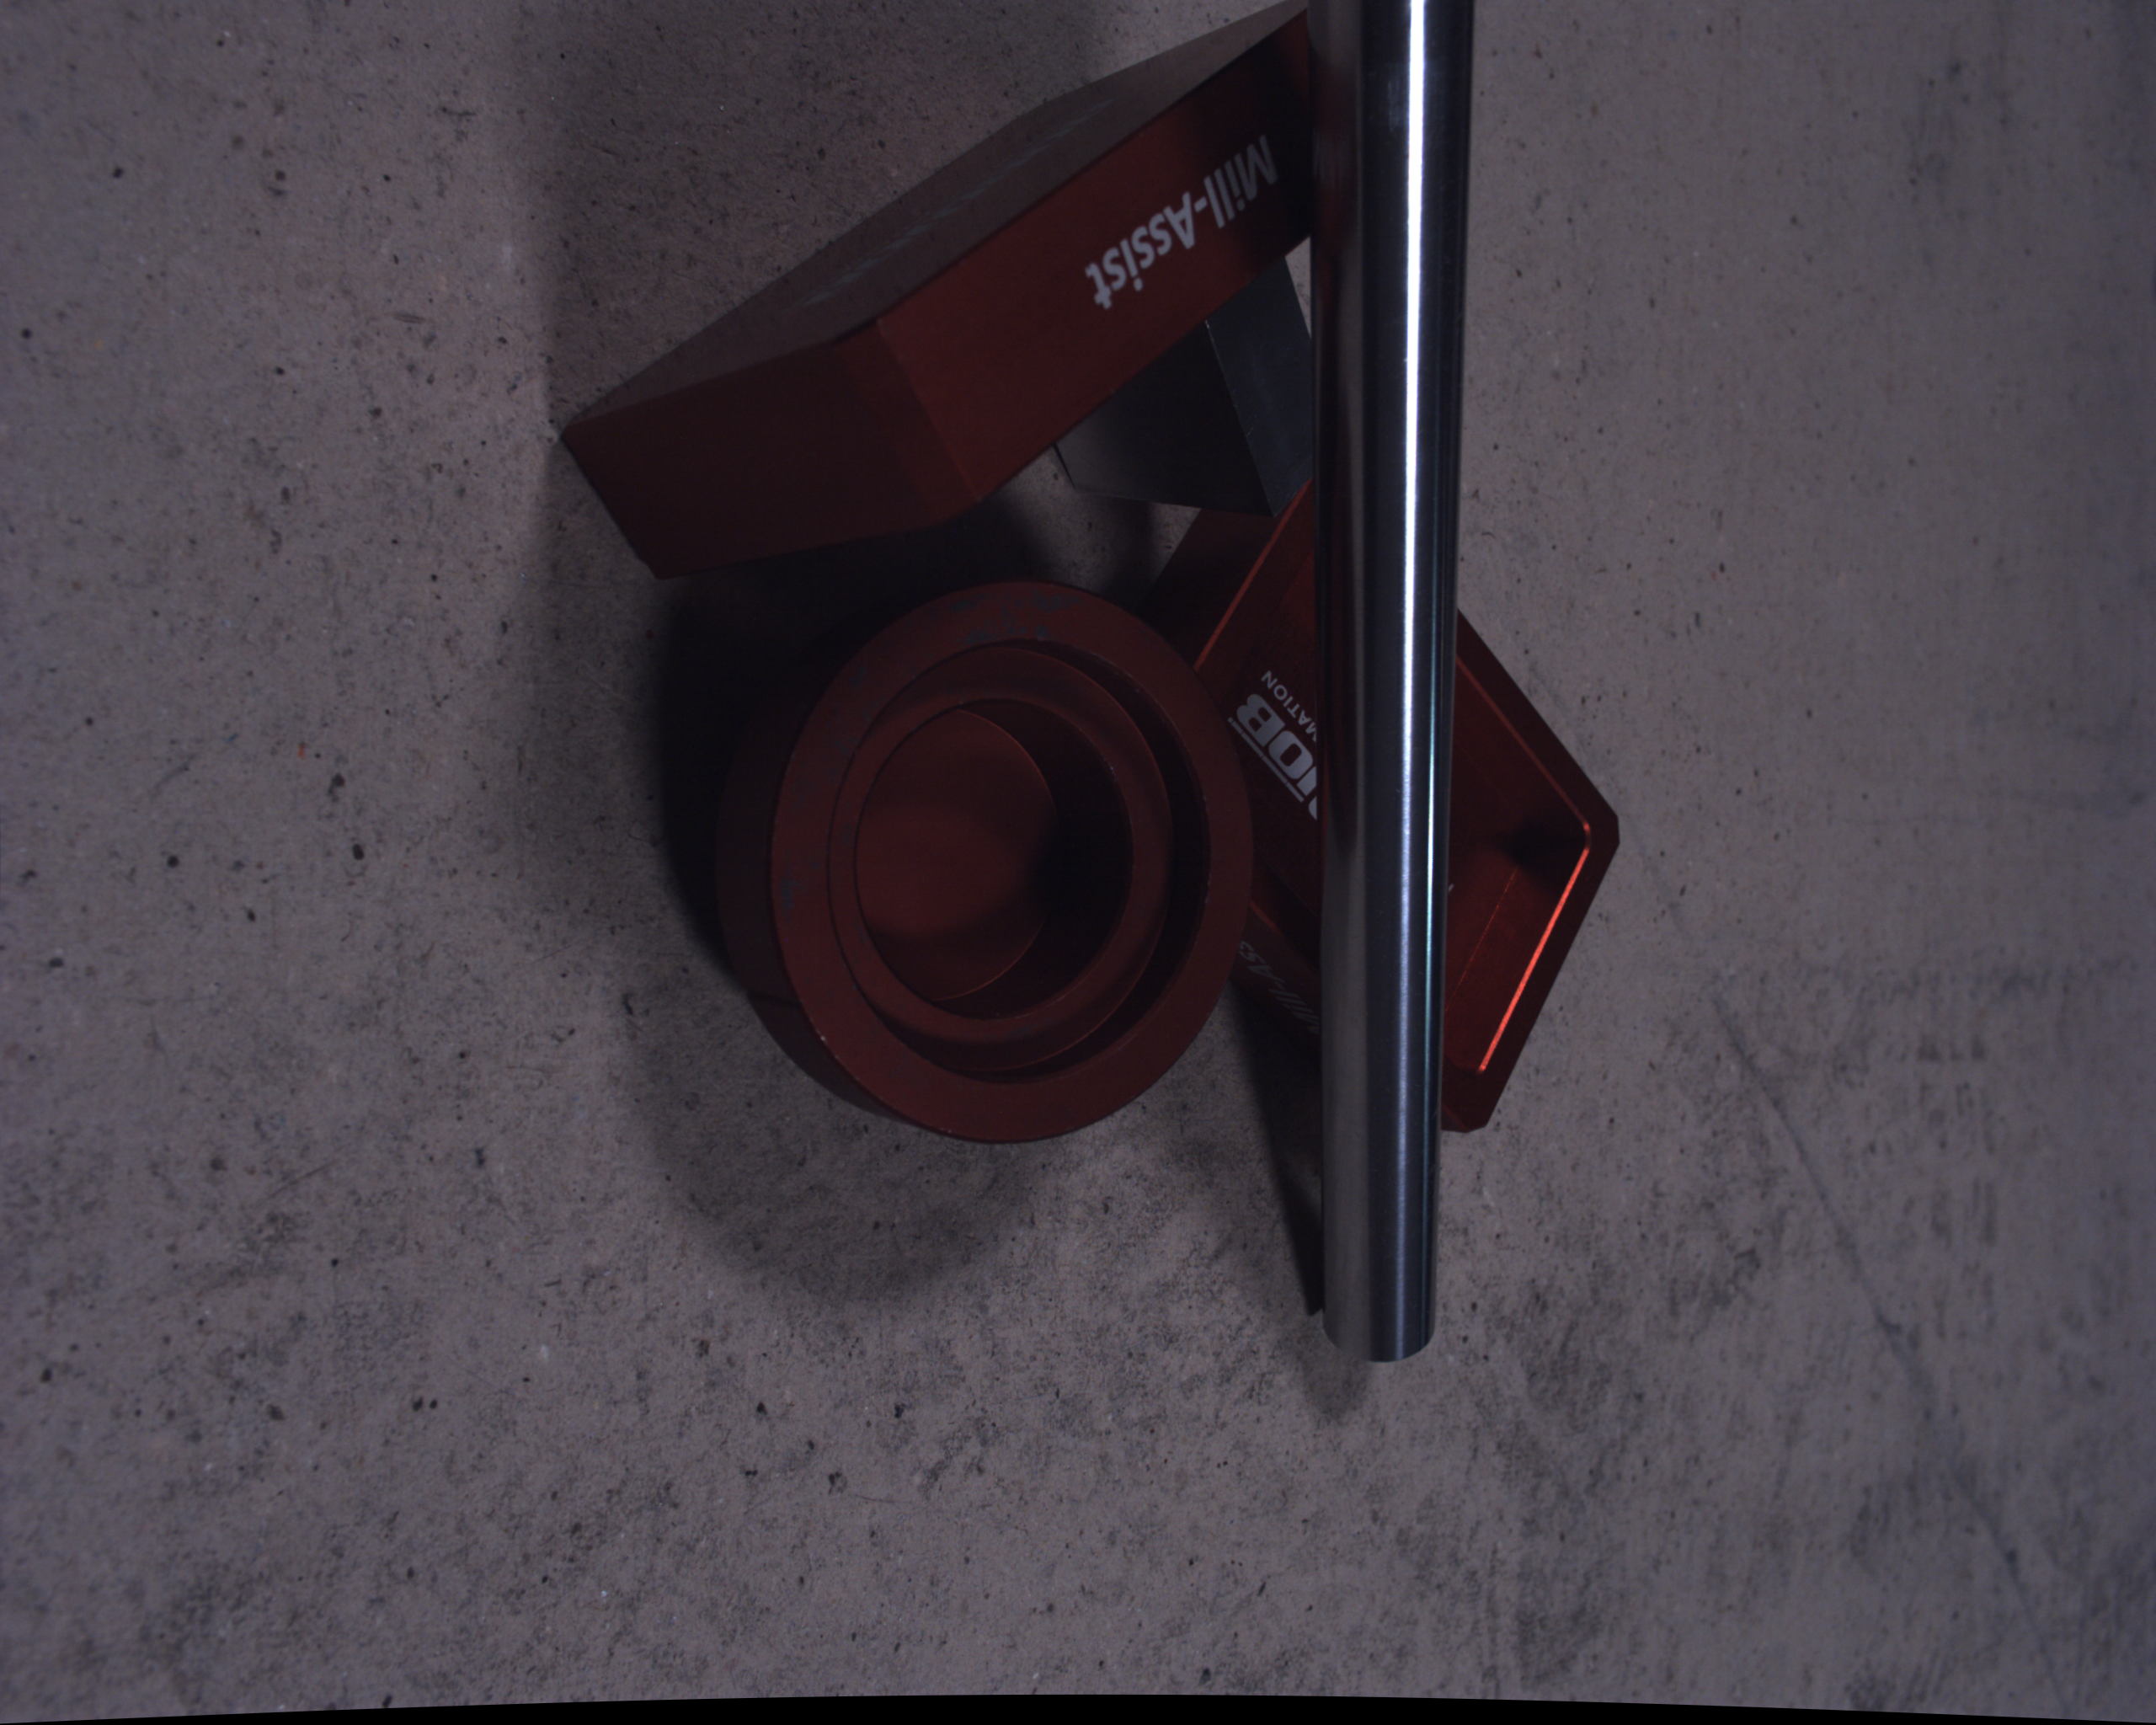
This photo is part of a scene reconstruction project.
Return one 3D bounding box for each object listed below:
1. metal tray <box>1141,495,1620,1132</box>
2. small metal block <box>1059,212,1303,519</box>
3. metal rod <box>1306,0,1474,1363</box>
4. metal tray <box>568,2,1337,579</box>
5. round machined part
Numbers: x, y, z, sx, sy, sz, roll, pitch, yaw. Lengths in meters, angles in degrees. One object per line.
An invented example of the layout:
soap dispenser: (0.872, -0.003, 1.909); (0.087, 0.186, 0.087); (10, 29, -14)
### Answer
metal tray: (0.061, -0.013, 0.457); (0.130, 0.030, 0.090); (45, 63, -31)
small metal block: (0.017, -0.096, 0.399); (0.025, 0.050, 0.050); (-49, 134, -26)
metal rod: (0.056, -0.021, 0.386); (0.025, 0.025, 0.298); (-33, 132, -35)
metal tray: (-0.012, -0.099, 0.354); (0.131, 0.090, 0.030); (-45, 118, -31)
round machined part: (-0.020, -0.001, 0.376); (0.099, 0.042, 0.097); (-3, 95, -34)
